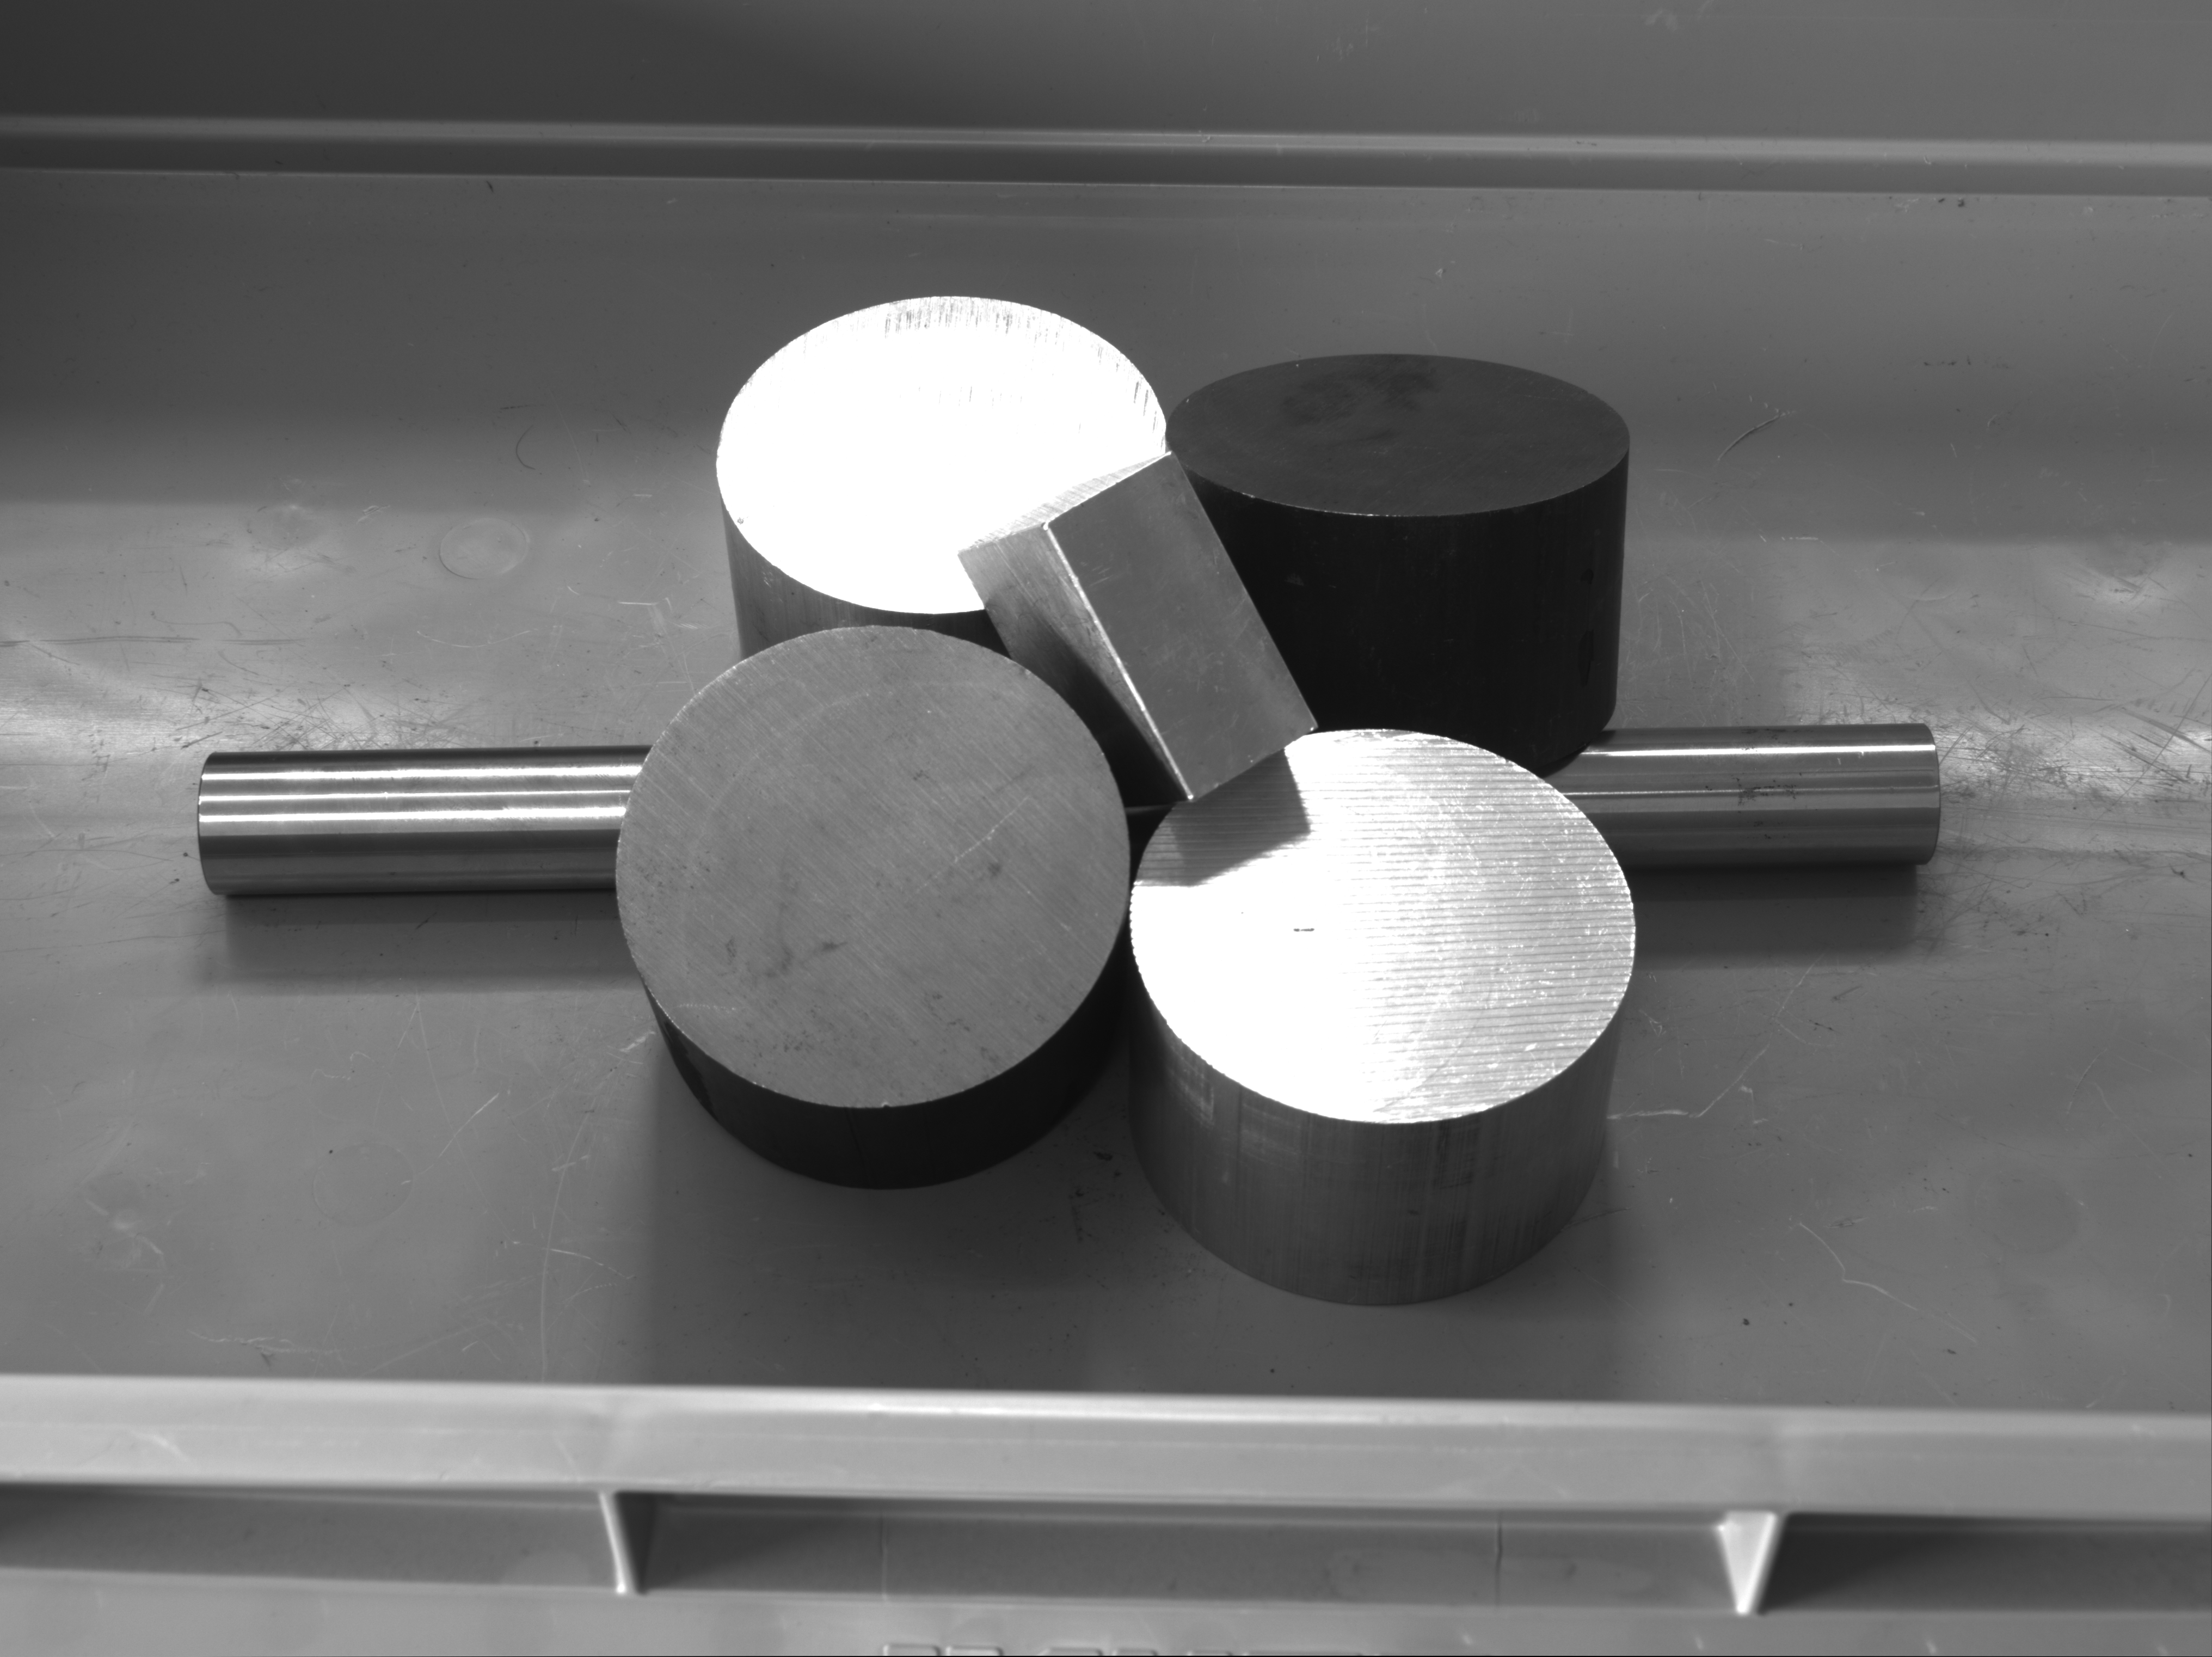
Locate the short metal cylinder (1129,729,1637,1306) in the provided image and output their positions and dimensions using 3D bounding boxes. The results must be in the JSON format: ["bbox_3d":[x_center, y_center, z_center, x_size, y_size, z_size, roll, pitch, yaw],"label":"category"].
[{"bbox_3d":[0.044,0.030,0.599,0.080,0.050,0.080,0,50,0],"label":"short metal cylinder"}]

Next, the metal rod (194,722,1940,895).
[{"bbox_3d":[-0.006,-0.004,0.643,0.300,0.025,0.025,-1,50,-1],"label":"metal rod"}]

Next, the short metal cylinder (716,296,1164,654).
[{"bbox_3d":[-0.029,-0.051,0.668,0.080,0.050,0.080,0,50,0],"label":"short metal cylinder"}]

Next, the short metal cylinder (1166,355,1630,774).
[{"bbox_3d":[0.051,-0.046,0.646,0.080,0.050,0.080,0,27,0],"label":"short metal cylinder"}]

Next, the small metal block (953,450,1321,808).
[{"bbox_3d":[0.004,-0.031,0.604,0.025,0.050,0.050,-31,98,-17],"label":"small metal block"}]

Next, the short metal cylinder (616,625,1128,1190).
[{"bbox_3d":[-0.037,0.014,0.597,0.080,0.050,0.080,0,70,-1],"label":"short metal cylinder"}]
